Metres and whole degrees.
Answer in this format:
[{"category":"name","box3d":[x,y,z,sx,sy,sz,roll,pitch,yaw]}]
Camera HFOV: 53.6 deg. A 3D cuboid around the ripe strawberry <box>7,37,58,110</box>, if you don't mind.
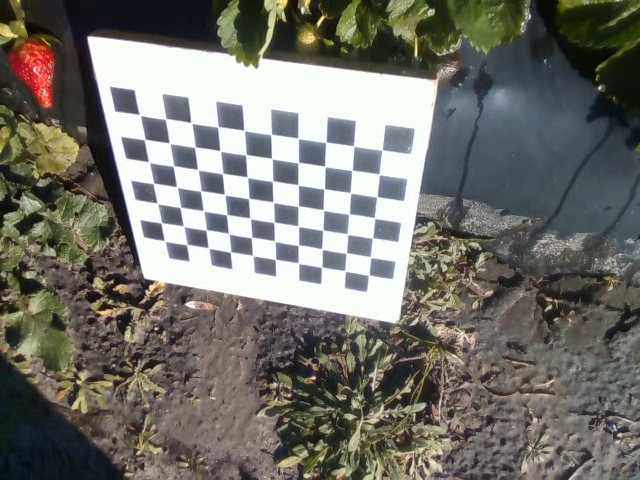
[{"category":"ripe strawberry","box3d":[-0.250,-0.140,0.555,0.048,0.069,0.040,-5,31,22]}]
